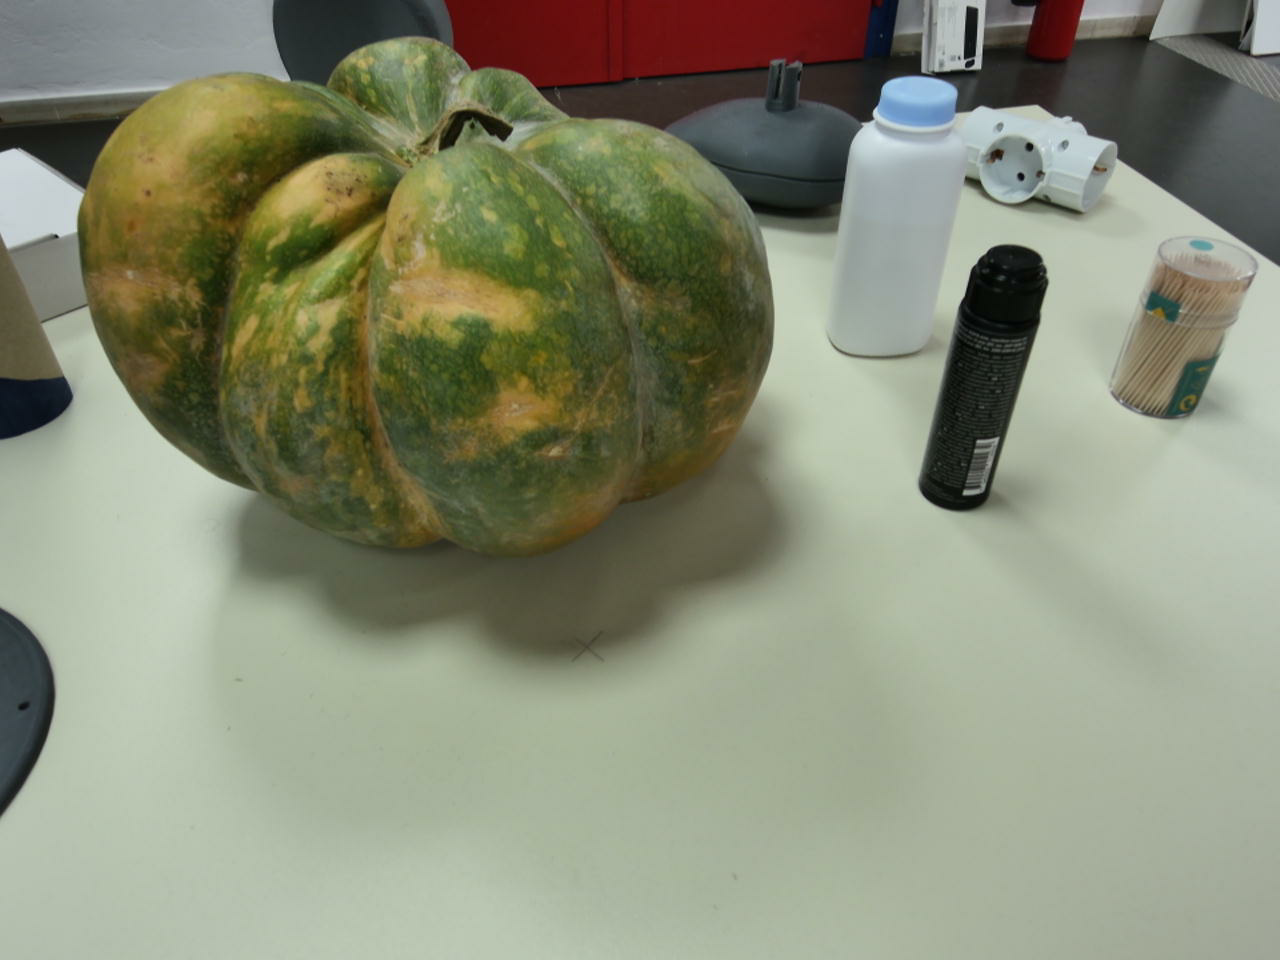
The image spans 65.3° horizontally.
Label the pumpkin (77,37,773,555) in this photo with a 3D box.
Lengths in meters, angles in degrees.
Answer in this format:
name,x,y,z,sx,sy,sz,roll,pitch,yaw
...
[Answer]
name,x,y,z,sx,sy,sz,roll,pitch,yaw
pumpkin,-0.076,-0.081,0.401,0.270,0.173,0.237,15,41,18
